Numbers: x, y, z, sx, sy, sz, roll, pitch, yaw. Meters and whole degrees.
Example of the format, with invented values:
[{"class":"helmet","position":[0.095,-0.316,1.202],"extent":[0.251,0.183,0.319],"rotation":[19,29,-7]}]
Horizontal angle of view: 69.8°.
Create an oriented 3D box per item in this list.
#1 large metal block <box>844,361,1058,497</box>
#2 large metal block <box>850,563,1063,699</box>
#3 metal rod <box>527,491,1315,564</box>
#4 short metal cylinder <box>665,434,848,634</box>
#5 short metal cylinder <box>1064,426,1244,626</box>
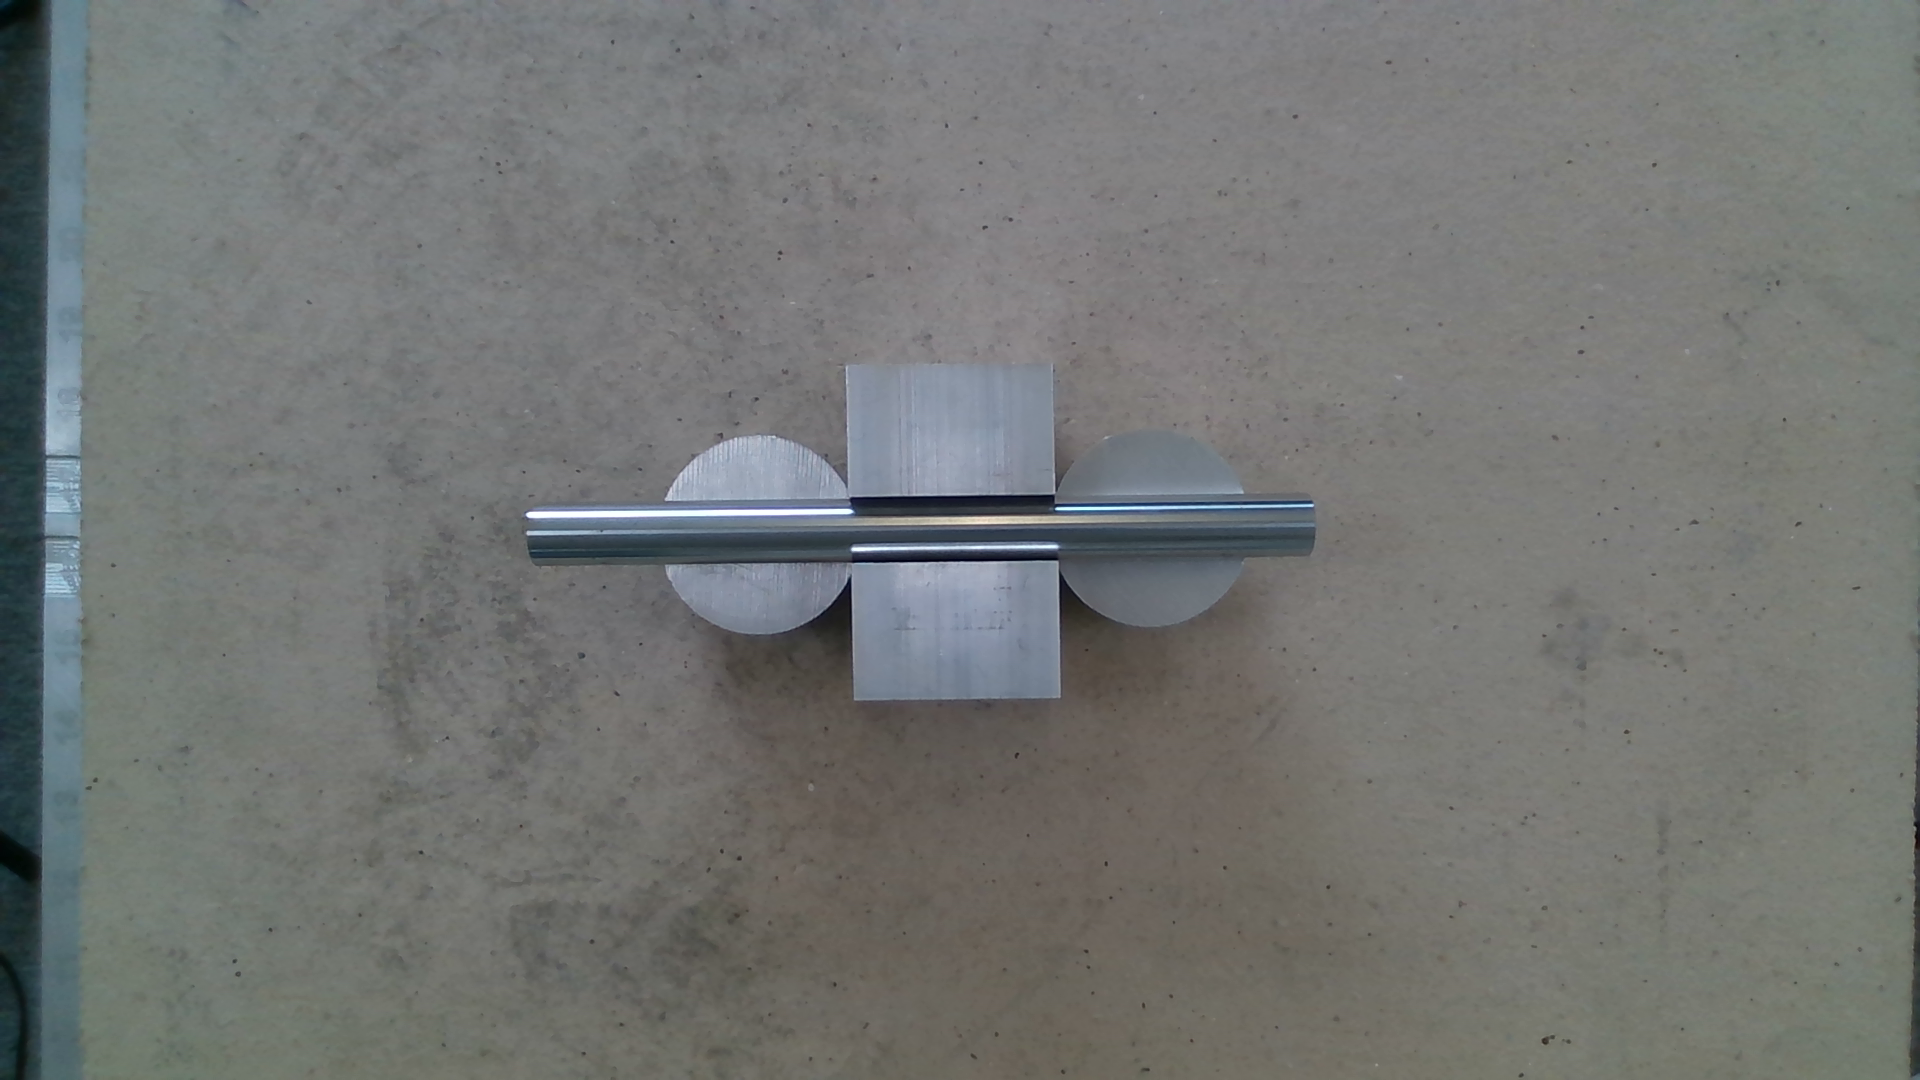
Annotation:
[{"class":"large metal block","position":[-0.004,-0.042,0.559],"extent":[0.080,0.080,0.050],"rotation":[-1,90,0]},{"class":"large metal block","position":[-0.001,0.034,0.560],"extent":[0.080,0.080,0.050],"rotation":[-1,90,0]},{"class":"metal rod","position":[-0.015,-0.005,0.537],"extent":[0.300,0.025,0.025],"rotation":[-1,90,0]},{"class":"short metal cylinder","position":[-0.081,-0.002,0.576],"extent":[0.080,0.050,0.080],"rotation":[0,90,-1]},{"class":"short metal cylinder","position":[0.076,-0.006,0.575],"extent":[0.080,0.050,0.080],"rotation":[0,90,-1]}]
